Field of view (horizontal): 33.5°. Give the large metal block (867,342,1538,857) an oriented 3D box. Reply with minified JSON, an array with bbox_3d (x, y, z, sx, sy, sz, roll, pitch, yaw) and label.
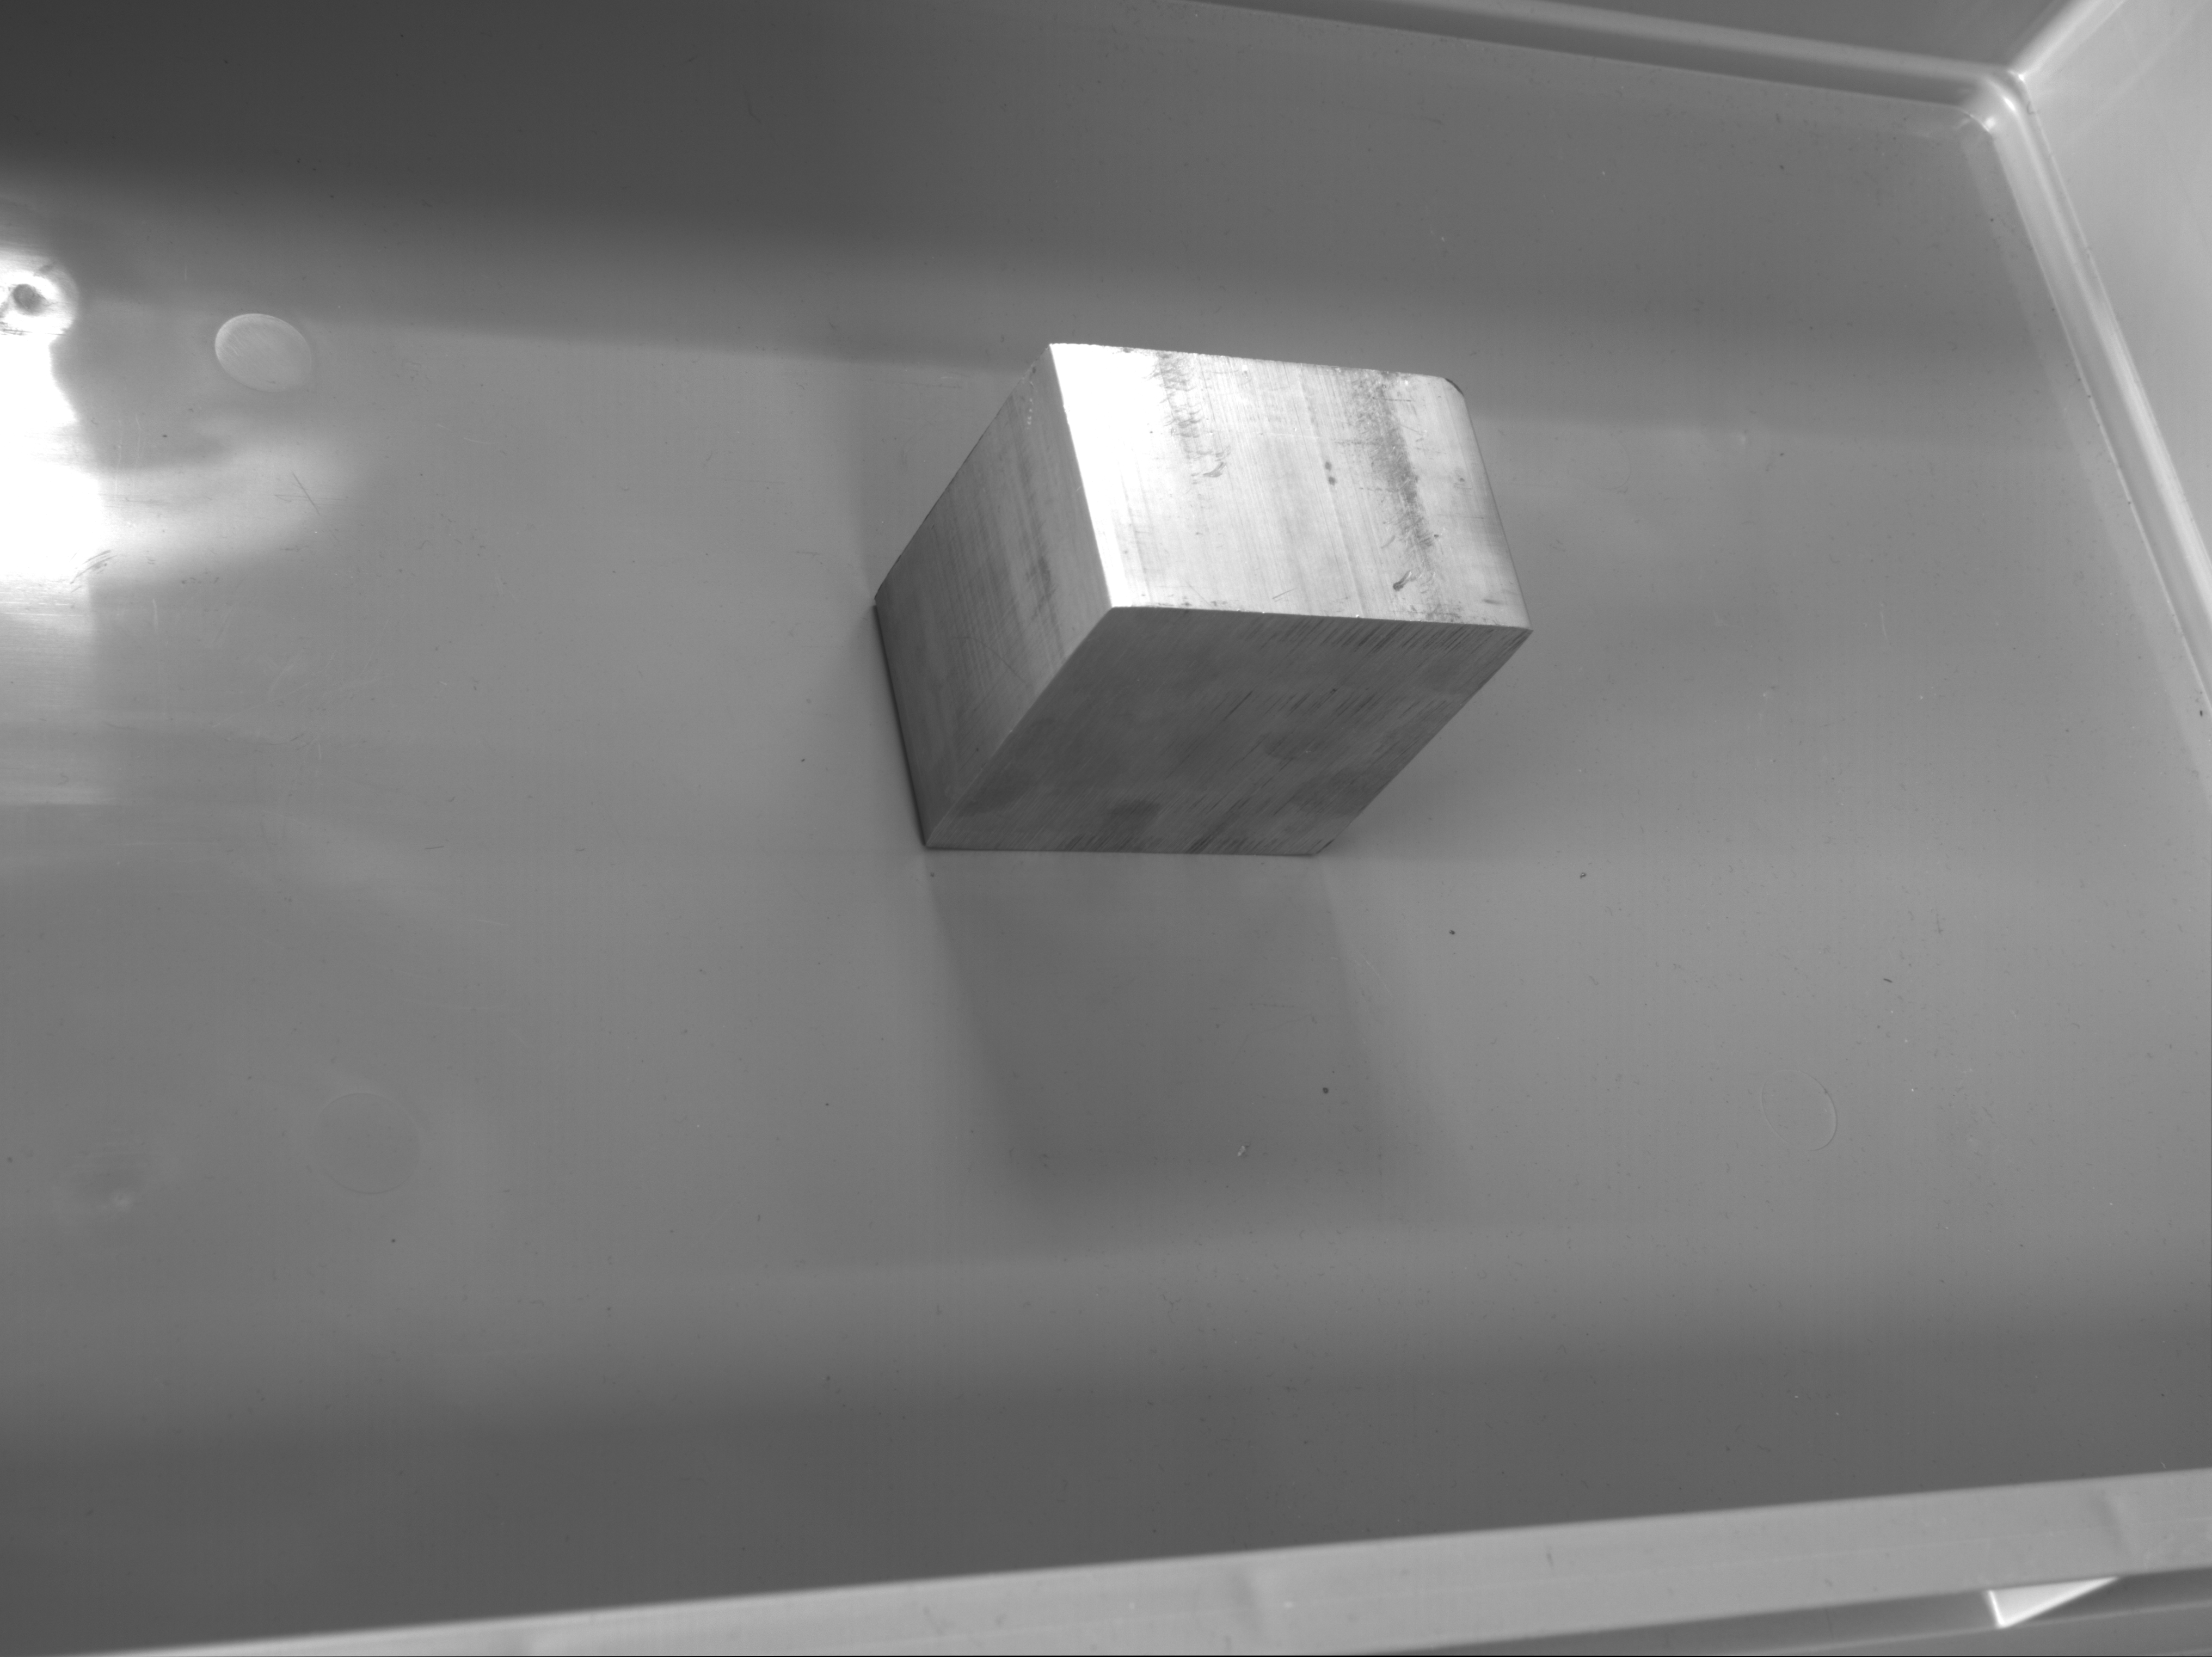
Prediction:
[{"bbox_3d":[0.014,-0.037,0.632,0.080,0.080,0.050,1,61,-28],"label":"large metal block"}]
